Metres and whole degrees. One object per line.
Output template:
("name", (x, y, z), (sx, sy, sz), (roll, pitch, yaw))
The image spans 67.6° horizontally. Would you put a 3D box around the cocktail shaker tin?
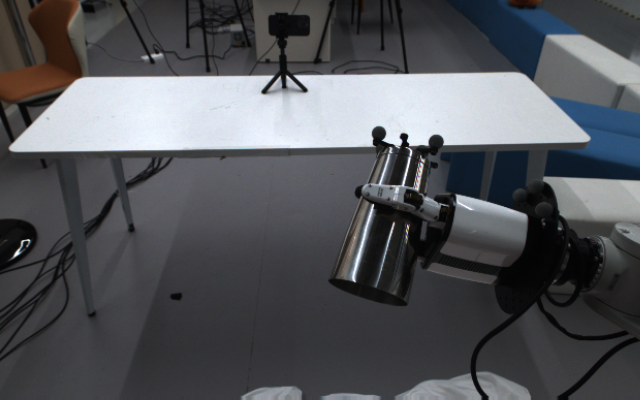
("cocktail shaker tin", (0.077, 0.026, 0.562), (0.093, 0.093, 0.170), (13, 70, 15))
